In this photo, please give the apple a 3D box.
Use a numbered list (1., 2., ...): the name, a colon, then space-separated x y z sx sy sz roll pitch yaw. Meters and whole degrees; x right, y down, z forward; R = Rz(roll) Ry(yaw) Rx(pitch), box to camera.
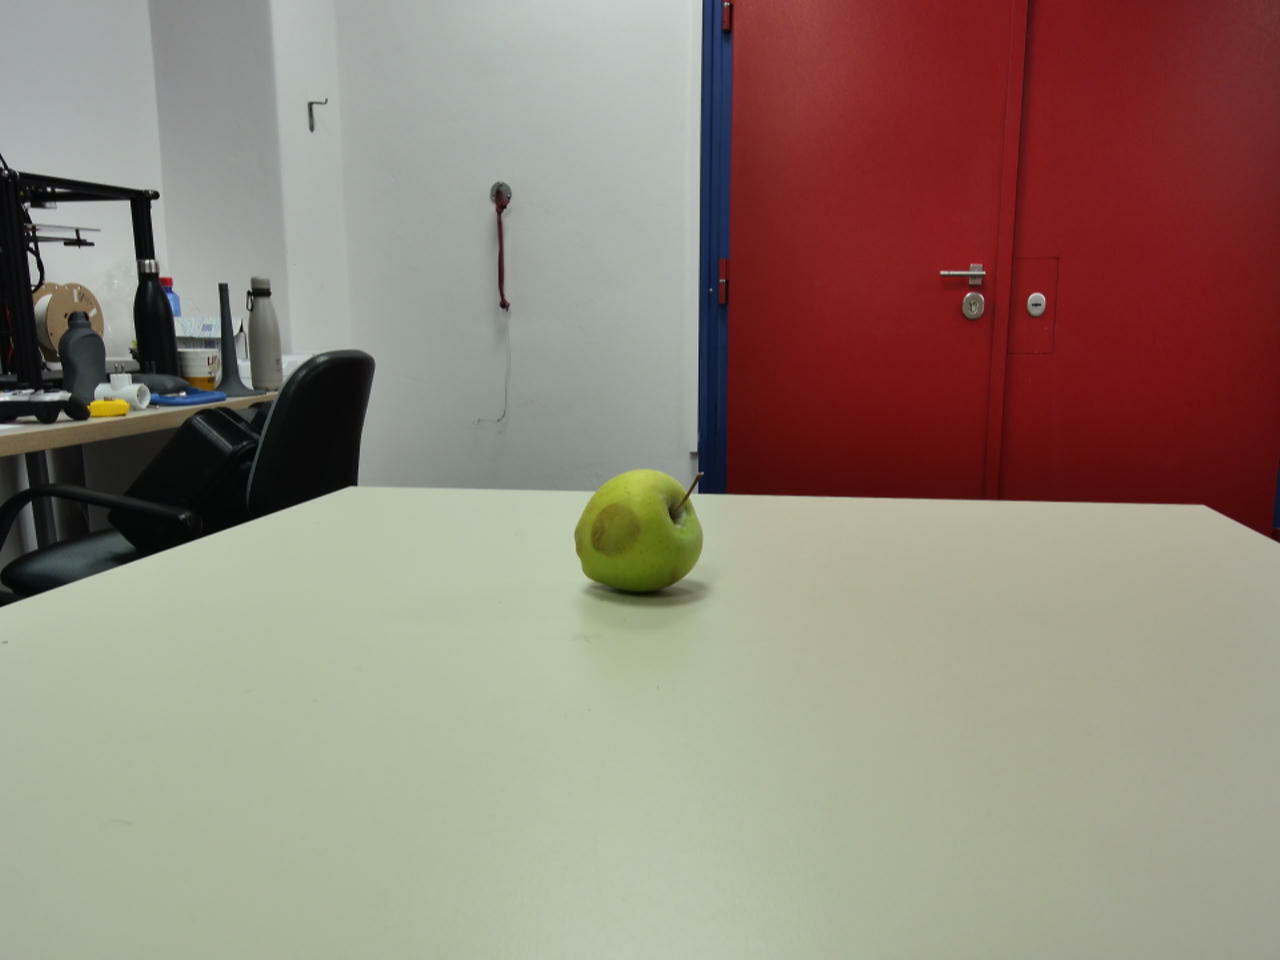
1. apple: 0.000 0.031 0.621 0.072 0.075 0.077 -7 9 -34
